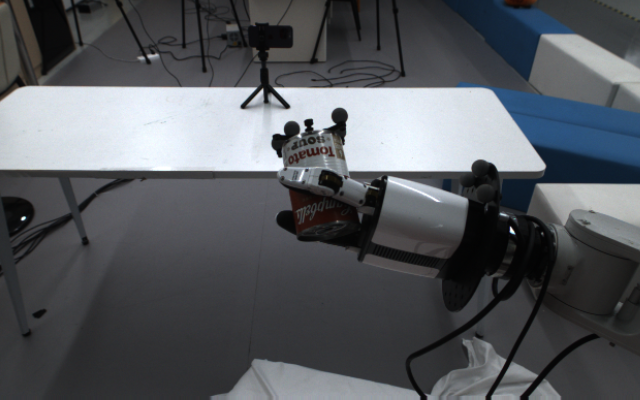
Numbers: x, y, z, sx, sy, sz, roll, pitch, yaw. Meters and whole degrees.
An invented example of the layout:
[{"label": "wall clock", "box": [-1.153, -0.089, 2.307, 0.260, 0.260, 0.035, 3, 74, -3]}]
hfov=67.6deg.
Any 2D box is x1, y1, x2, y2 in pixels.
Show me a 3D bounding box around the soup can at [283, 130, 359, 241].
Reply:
[{"label": "soup can", "box": [0.002, -0.014, 0.511, 0.067, 0.067, 0.101, -8, 74, -14]}]
